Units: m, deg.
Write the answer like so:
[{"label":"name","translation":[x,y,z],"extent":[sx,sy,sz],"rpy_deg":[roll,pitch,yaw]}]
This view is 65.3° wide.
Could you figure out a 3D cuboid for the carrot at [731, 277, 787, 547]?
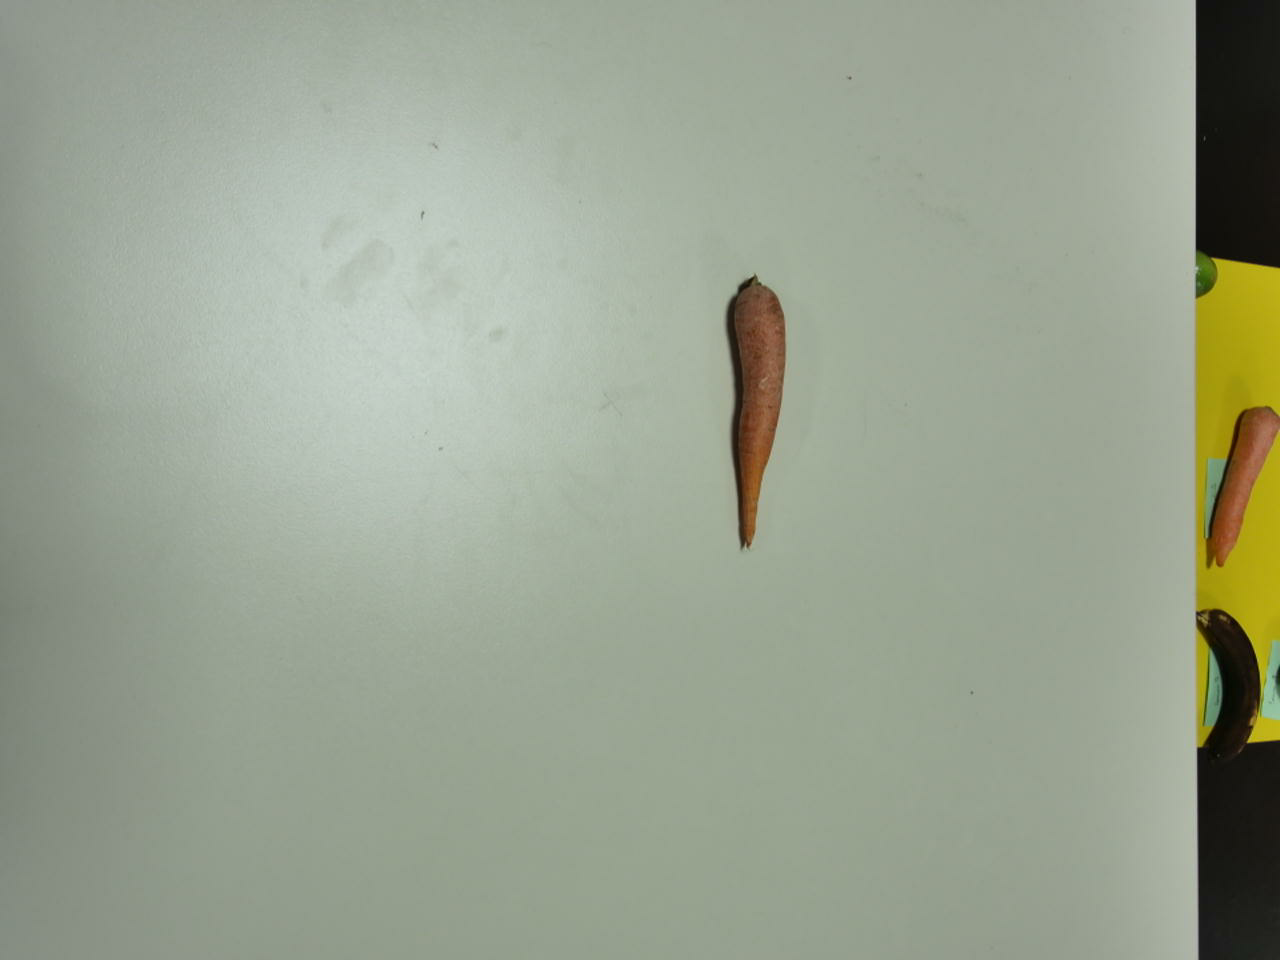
[{"label":"carrot","translation":[0.072,-0.041,0.602],"extent":[0.031,0.029,0.163],"rpy_deg":[0,91,-22]}]
